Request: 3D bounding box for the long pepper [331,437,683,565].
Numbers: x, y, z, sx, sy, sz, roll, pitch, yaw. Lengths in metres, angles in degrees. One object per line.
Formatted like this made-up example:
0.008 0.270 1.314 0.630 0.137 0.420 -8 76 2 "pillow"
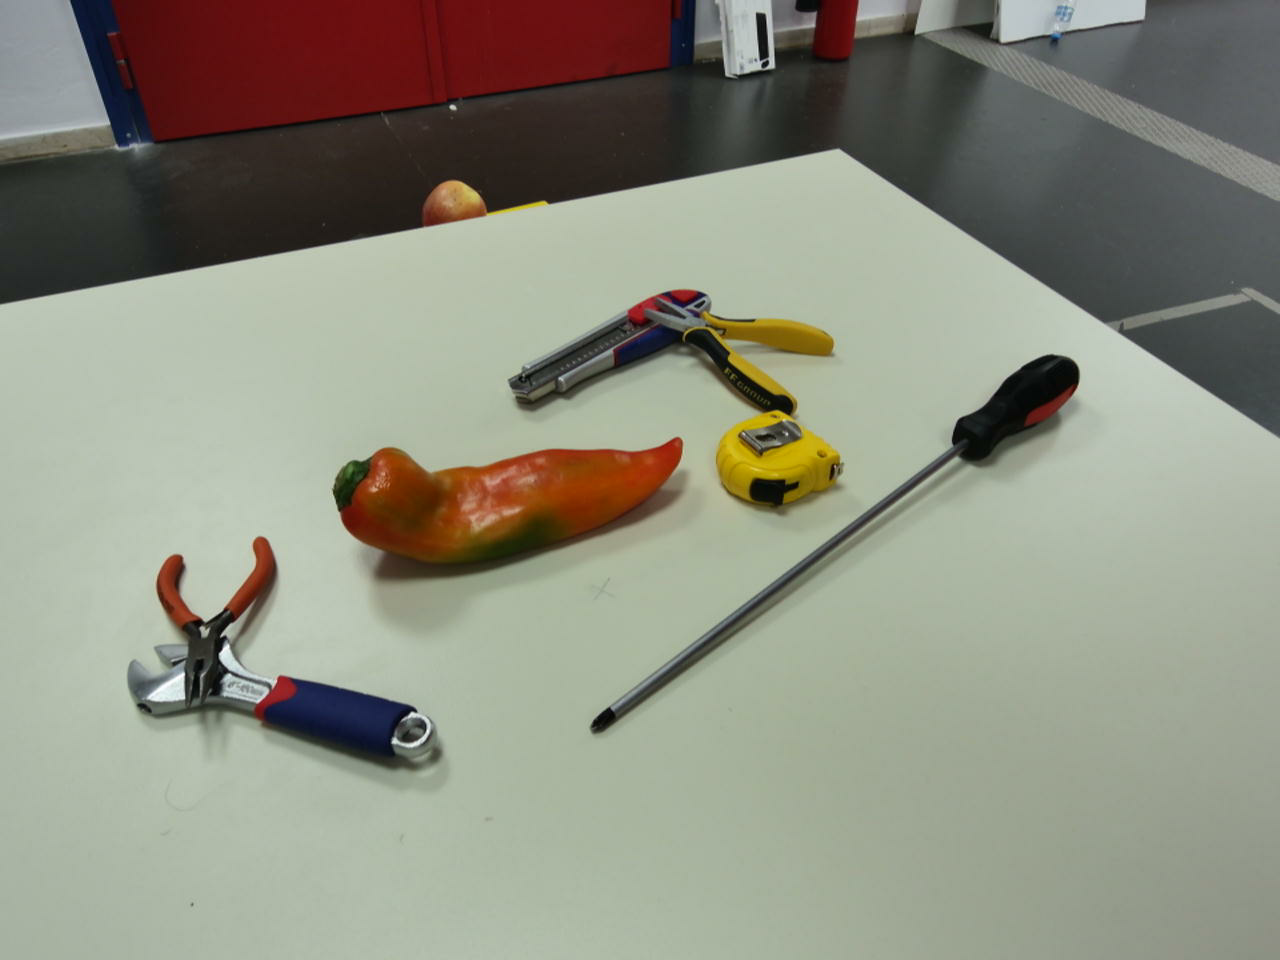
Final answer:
-0.066 -0.001 0.554 0.199 0.065 0.066 -12 41 -16 "long pepper"
